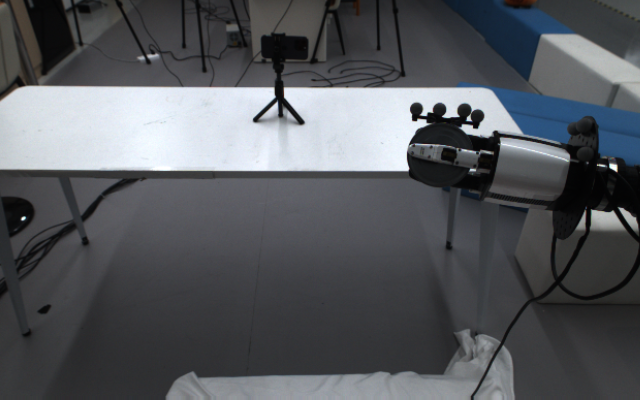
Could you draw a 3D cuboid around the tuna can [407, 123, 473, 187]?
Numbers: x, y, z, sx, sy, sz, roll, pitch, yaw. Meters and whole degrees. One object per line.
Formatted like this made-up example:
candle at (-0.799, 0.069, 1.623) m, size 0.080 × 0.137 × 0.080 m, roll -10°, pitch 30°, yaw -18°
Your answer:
tuna can at (0.162, -0.064, 0.650) m, size 0.085 × 0.085 × 0.034 m, roll 11°, pitch 2°, yaw 12°
